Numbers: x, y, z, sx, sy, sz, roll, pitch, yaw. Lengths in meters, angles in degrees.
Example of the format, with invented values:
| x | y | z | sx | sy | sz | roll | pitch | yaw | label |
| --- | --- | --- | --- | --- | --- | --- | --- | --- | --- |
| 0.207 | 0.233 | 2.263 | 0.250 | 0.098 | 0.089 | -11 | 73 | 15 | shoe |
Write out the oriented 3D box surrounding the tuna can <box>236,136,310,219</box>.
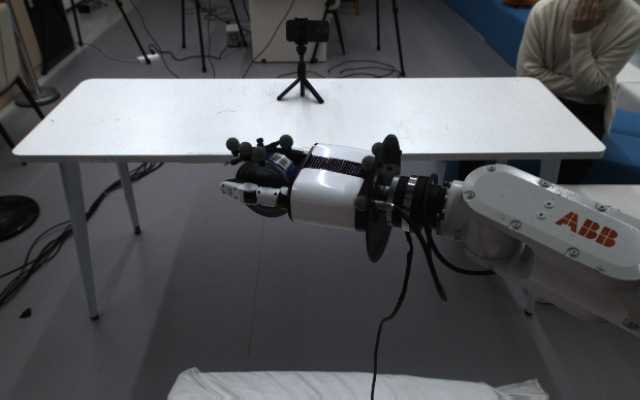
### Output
| x | y | z | sx | sy | sz | roll | pitch | yaw | label |
| --- | --- | --- | --- | --- | --- | --- | --- | --- | --- |
| -0.065 | -0.023 | 0.642 | 0.085 | 0.085 | 0.034 | 14 | 34 | 17 | tuna can |
